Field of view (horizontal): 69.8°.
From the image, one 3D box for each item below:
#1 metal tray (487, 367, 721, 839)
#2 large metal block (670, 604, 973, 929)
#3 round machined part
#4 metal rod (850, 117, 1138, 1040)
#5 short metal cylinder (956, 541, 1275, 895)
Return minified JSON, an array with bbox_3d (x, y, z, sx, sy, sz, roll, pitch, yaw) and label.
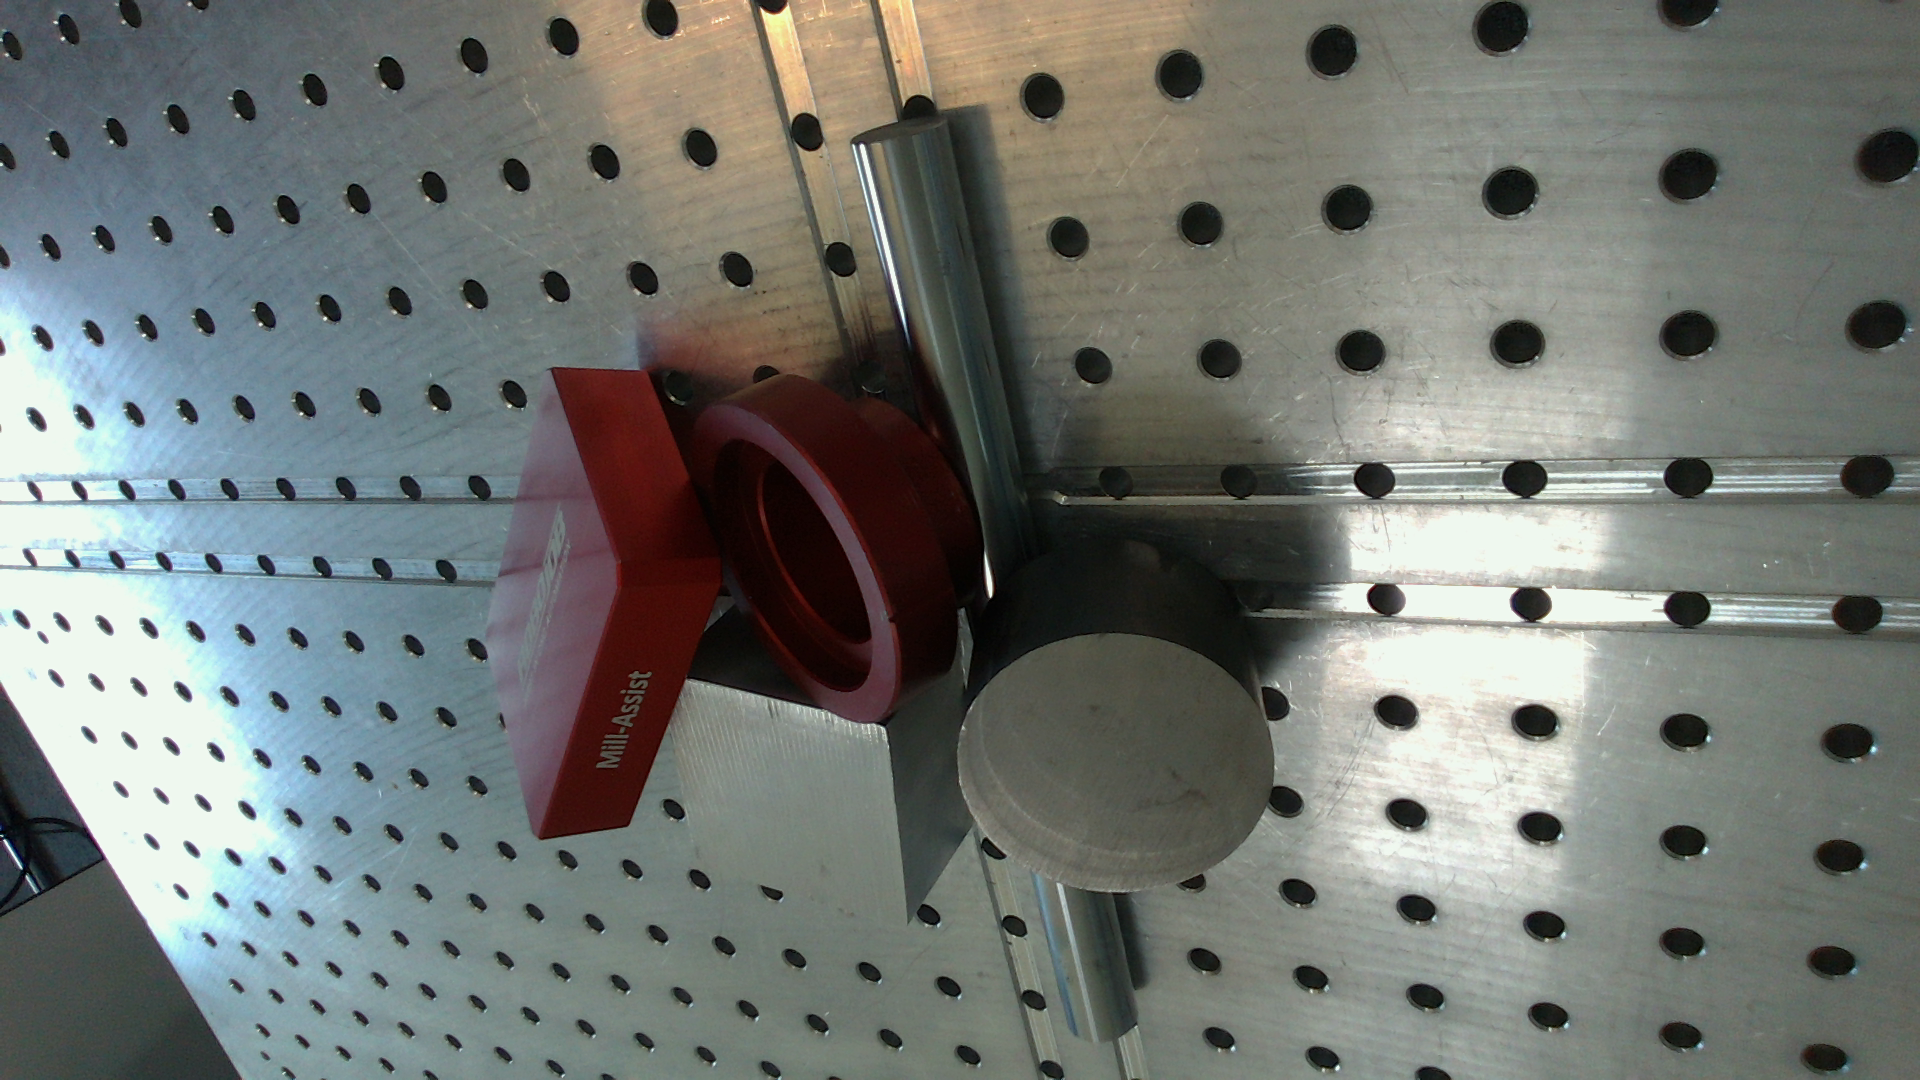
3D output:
[{"bbox_3d":[-0.118,0.022,0.437,0.090,0.030,0.130,62,140,35],"label":"metal tray"},{"bbox_3d":[-0.045,0.069,0.446,0.080,0.050,0.080,10,123,23],"label":"large metal block"},{"bbox_3d":[-0.032,-0.001,0.385,0.098,0.042,0.098,37,142,36],"label":"round machined part"},{"bbox_3d":[0.016,0.029,0.406,0.025,0.025,0.300,1,119,28],"label":"metal rod"},{"bbox_3d":[0.041,0.047,0.370,0.080,0.050,0.080,2,117,5],"label":"short metal cylinder"}]
